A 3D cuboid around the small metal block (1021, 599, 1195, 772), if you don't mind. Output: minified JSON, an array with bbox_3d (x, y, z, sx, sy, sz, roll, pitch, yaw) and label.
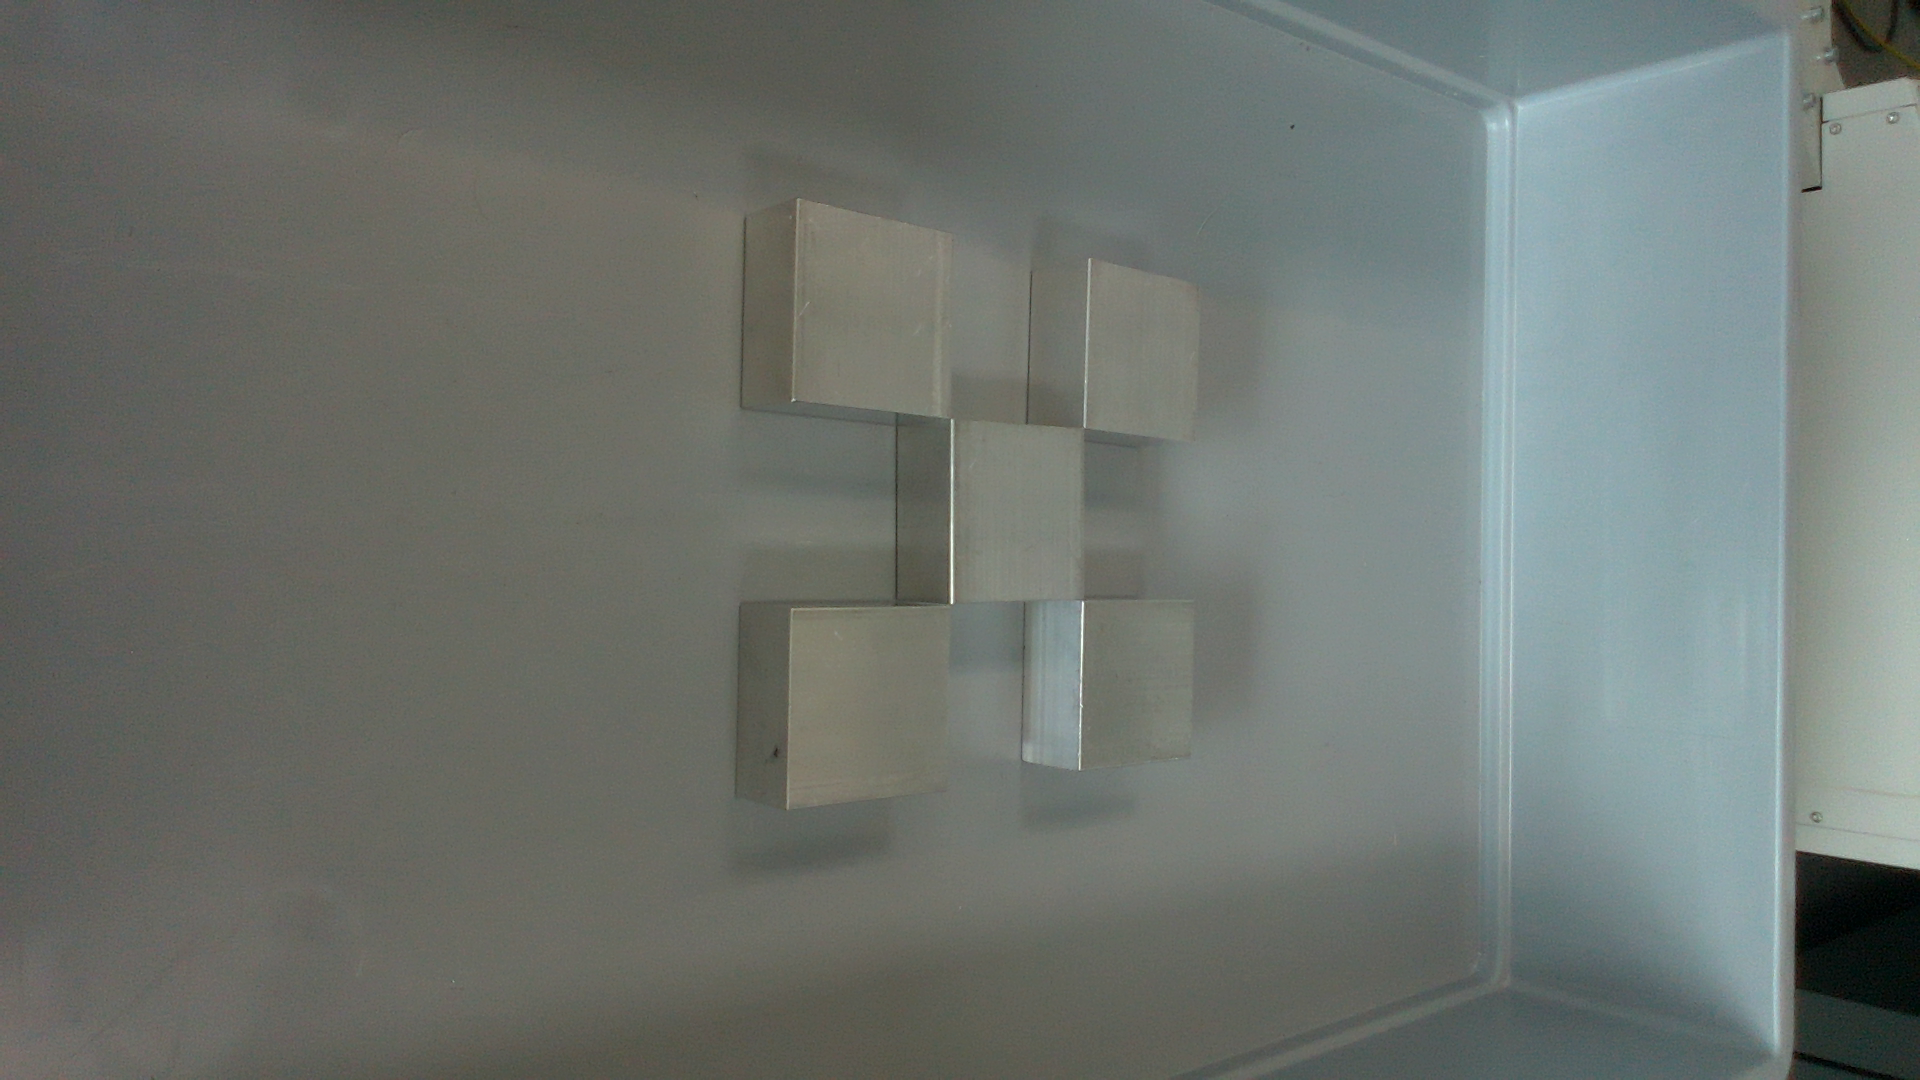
[{"bbox_3d":[0.046,0.043,0.425,0.050,0.025,0.050,2,89,-40],"label":"small metal block"}]

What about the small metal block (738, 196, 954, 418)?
[{"bbox_3d":[-0.029,-0.059,0.362,0.050,0.025,0.050,2,89,-40],"label":"small metal block"}]

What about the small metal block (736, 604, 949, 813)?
[{"bbox_3d":[-0.030,0.042,0.361,0.050,0.025,0.050,1,89,-40],"label":"small metal block"}]

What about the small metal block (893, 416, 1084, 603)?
[{"bbox_3d":[0.009,-0.008,0.393,0.050,0.025,0.050,1,90,-40],"label":"small metal block"}]

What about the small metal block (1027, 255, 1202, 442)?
[{"bbox_3d":[0.048,-0.057,0.426,0.050,0.025,0.050,3,88,-40],"label":"small metal block"}]
